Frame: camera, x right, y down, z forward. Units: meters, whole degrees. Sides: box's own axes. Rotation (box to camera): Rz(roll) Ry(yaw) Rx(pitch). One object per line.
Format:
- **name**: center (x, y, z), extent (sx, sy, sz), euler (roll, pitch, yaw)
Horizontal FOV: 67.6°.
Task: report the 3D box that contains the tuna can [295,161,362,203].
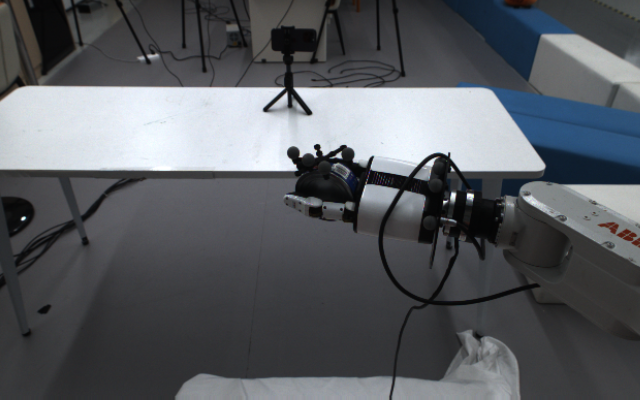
- **tuna can**: center (0.012, -0.015, 0.677), extent (0.085, 0.085, 0.034), euler (14, 40, 16)
